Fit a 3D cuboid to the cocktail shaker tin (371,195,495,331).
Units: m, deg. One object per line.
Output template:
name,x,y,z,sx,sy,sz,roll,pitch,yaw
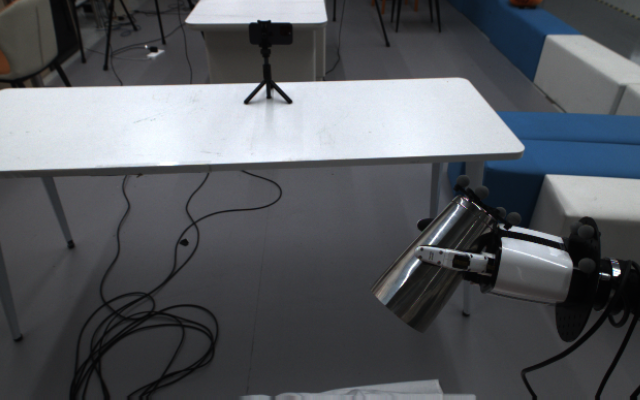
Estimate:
cocktail shaker tin,0.156,0.076,0.642,0.170,0.093,0.093,-50,47,3
